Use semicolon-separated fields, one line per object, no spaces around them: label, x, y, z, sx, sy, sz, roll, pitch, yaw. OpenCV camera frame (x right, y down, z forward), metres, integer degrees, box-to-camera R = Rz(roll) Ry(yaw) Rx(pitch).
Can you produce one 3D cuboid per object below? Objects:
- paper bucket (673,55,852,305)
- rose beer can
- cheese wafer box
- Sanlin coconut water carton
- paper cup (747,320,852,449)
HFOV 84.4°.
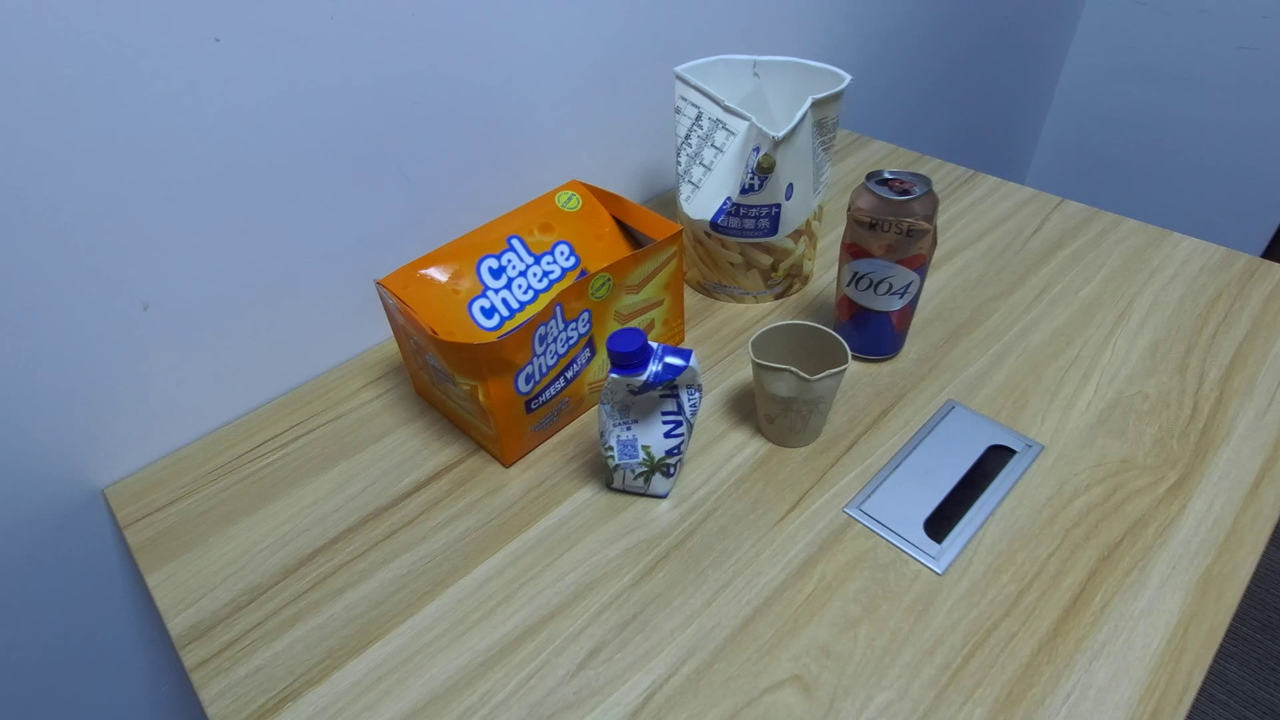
paper bucket;0.103;-0.180;0.716;0.162;0.202;0.169;22;45;29
rose beer can;0.214;-0.081;0.620;0.075;0.167;0.065;20;44;29
cheese wafer box;-0.086;-0.039;0.625;0.151;0.132;0.231;32;52;33
Sanlin coconut water carton;0.007;0.042;0.513;0.068;0.145;0.057;13;50;8
paper cup;0.123;0.022;0.565;0.073;0.081;0.068;-20;44;-18
